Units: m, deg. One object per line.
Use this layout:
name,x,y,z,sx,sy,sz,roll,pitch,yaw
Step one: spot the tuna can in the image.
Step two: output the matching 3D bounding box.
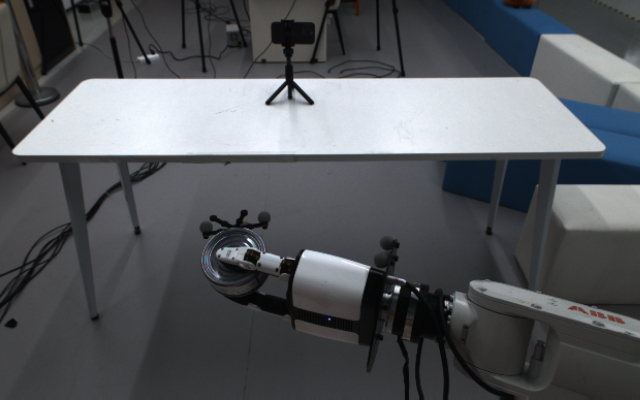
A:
tuna can,-0.103,0.085,0.619,0.085,0.034,0.085,-3,59,5
